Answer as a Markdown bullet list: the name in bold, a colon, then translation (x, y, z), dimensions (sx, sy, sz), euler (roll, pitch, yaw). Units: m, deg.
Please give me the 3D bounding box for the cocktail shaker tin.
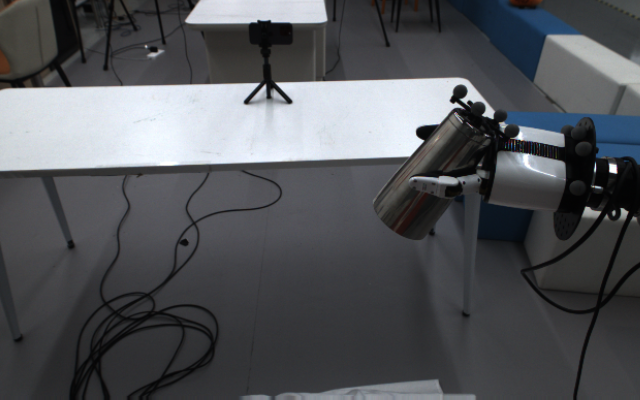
- **cocktail shaker tin**: translation (0.157, -0.041, 0.658), dimensions (0.093, 0.170, 0.093), euler (26, 32, -17)
